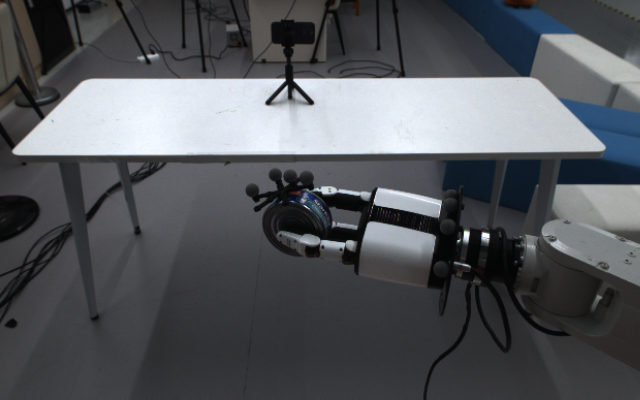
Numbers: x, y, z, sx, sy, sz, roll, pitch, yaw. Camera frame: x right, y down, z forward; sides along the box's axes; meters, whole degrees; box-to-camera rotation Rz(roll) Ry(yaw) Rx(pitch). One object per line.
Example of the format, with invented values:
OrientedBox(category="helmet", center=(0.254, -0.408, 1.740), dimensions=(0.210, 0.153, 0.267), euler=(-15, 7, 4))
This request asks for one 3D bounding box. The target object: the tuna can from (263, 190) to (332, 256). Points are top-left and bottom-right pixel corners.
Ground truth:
OrientedBox(category="tuna can", center=(-0.026, 0.036, 0.618), dimensions=(0.085, 0.085, 0.034), euler=(11, 35, 13))
